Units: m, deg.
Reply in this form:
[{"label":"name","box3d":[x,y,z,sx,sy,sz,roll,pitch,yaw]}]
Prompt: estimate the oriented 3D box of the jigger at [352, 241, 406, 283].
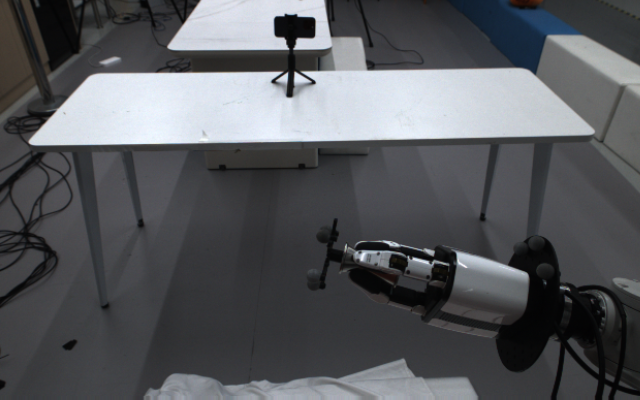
[{"label":"jigger","box3d":[0.067,0.073,0.578,0.071,0.043,0.043,13,36,4]}]
